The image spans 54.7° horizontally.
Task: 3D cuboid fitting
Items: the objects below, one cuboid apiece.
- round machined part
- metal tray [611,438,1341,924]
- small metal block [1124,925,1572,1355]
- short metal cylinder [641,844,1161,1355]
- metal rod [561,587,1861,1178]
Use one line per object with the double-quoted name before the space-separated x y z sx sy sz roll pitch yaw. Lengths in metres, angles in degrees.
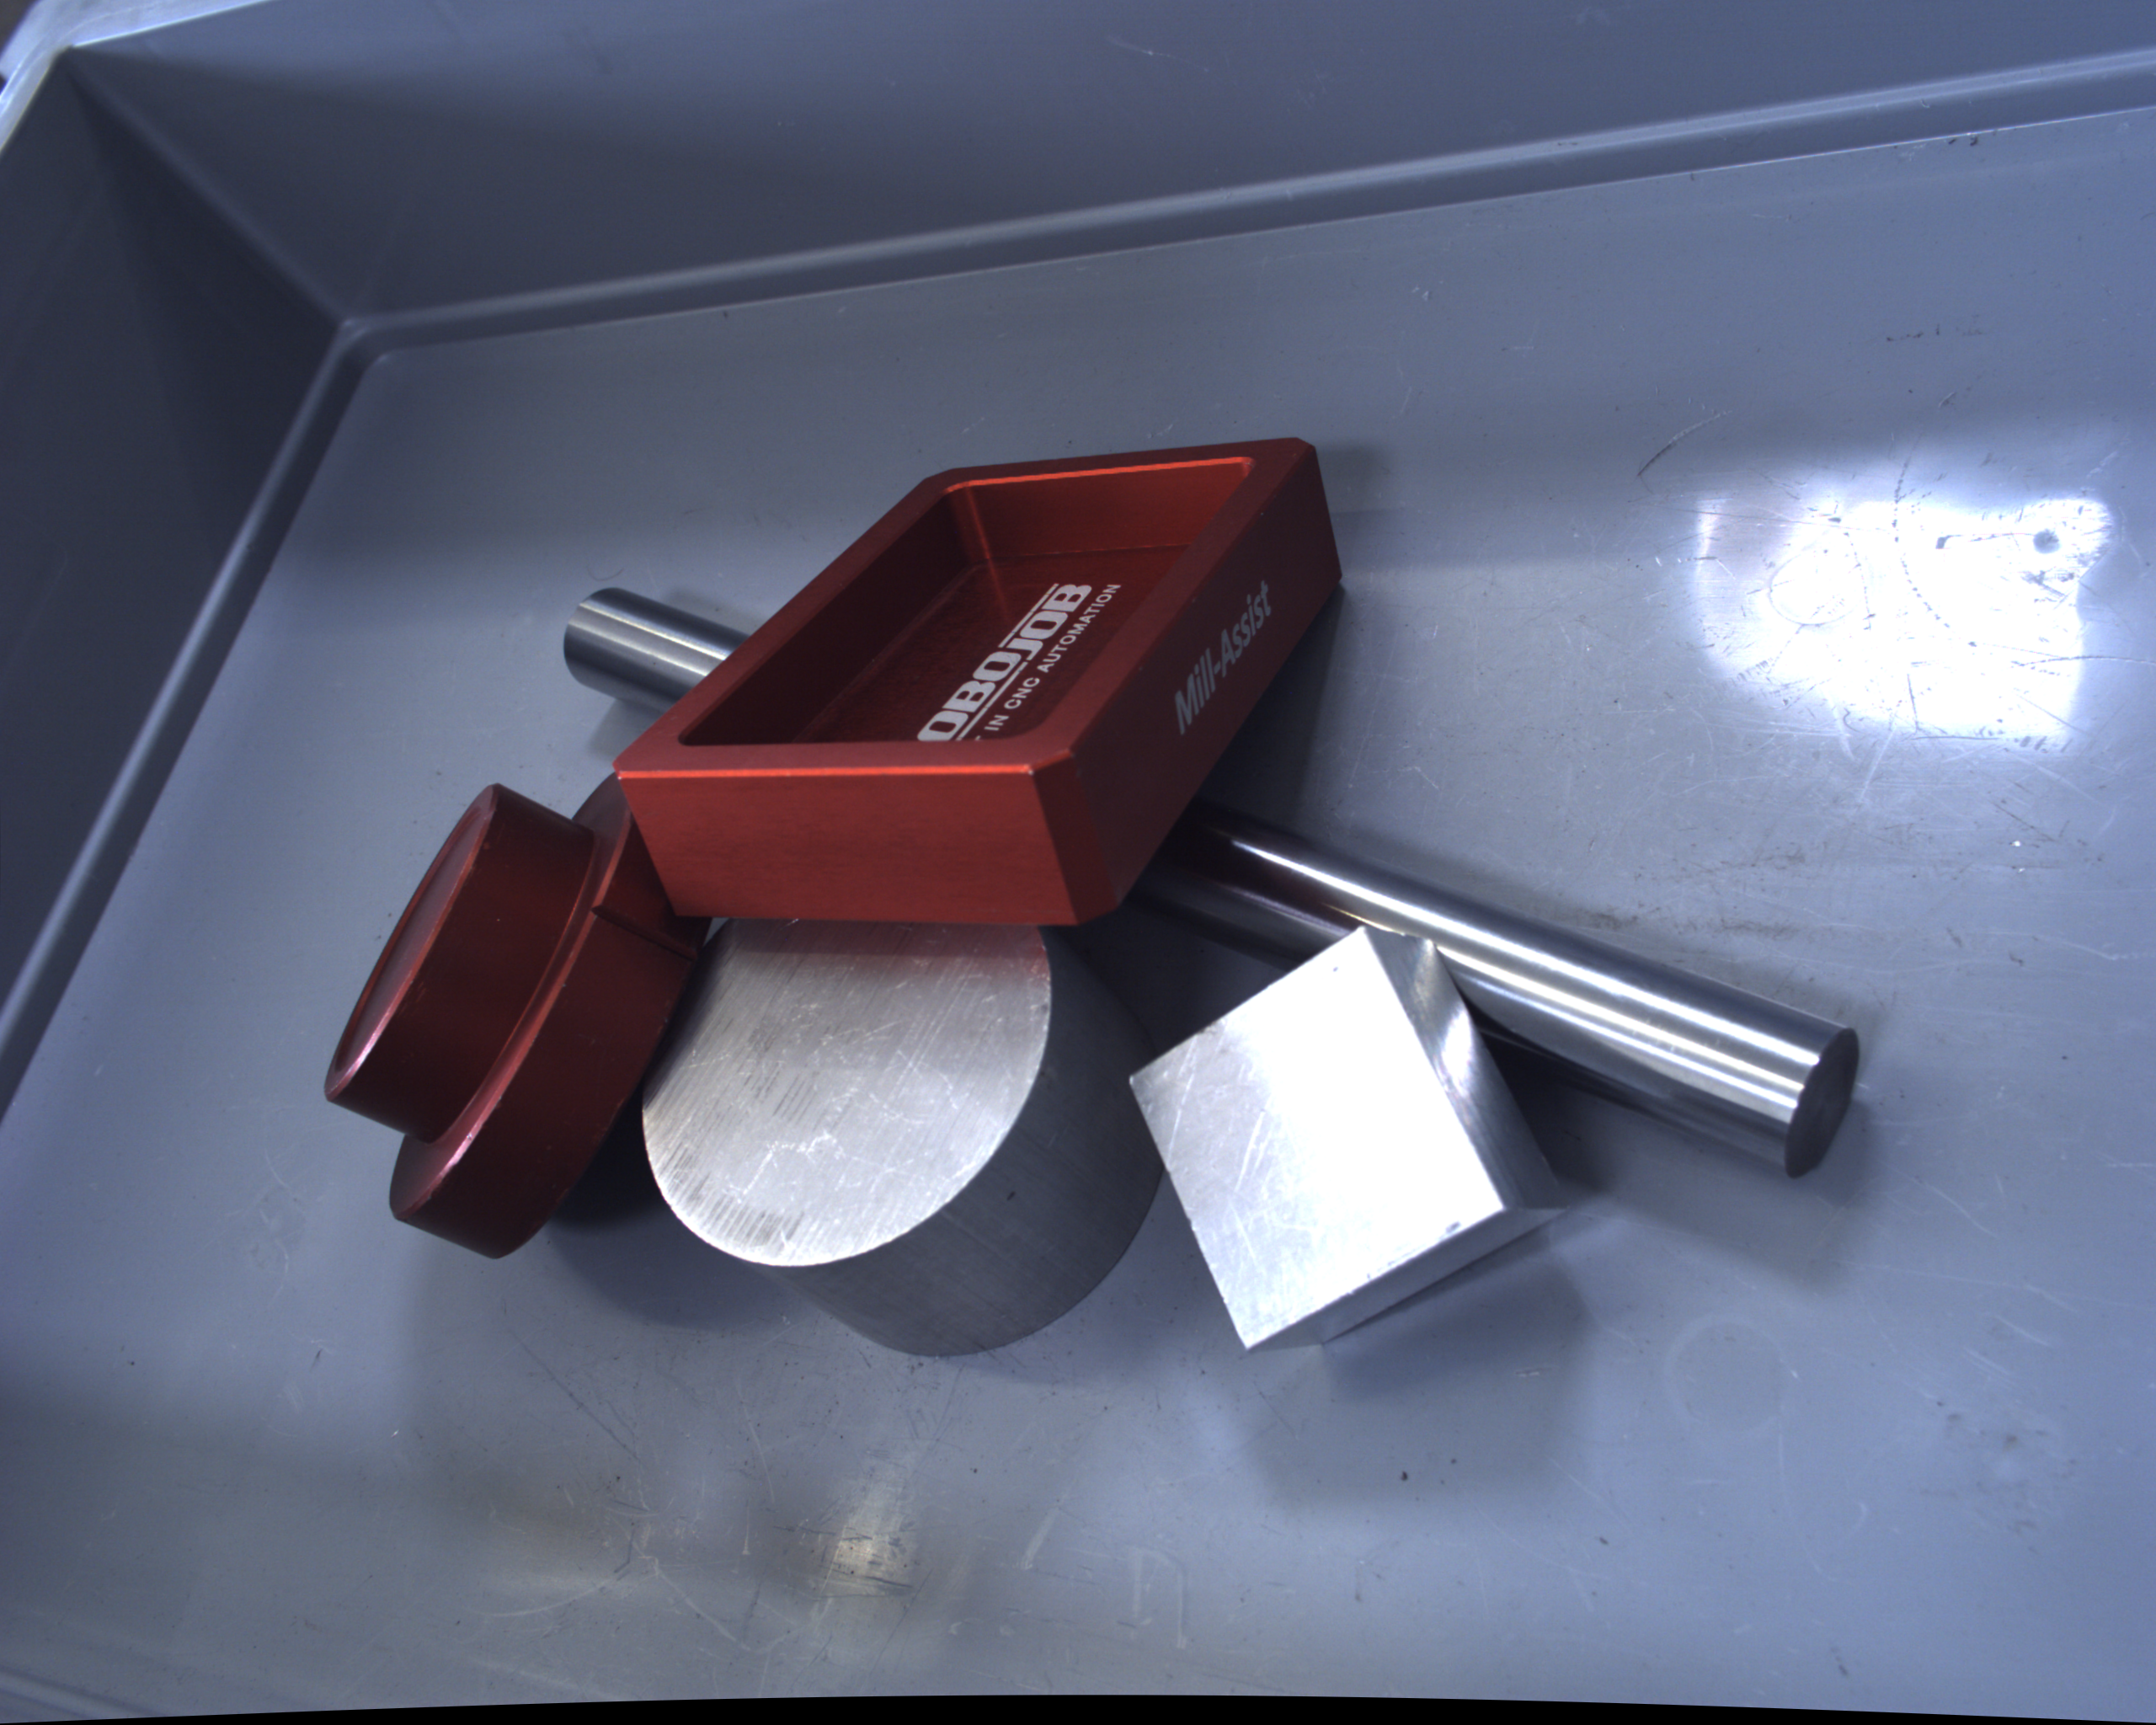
"round machined part" -0.111 0.024 0.406 0.098 0.042 0.098 -47 25 30
"metal tray" -0.014 -0.038 0.393 0.090 0.030 0.131 0 33 27
"small metal block" 0.043 0.045 0.339 0.050 0.025 0.050 -36 66 25
"short metal cylinder" -0.030 0.043 0.377 0.080 0.050 0.080 -13 56 21
"metal rod" 0.001 -0.008 0.408 0.300 0.025 0.025 22 73 36
